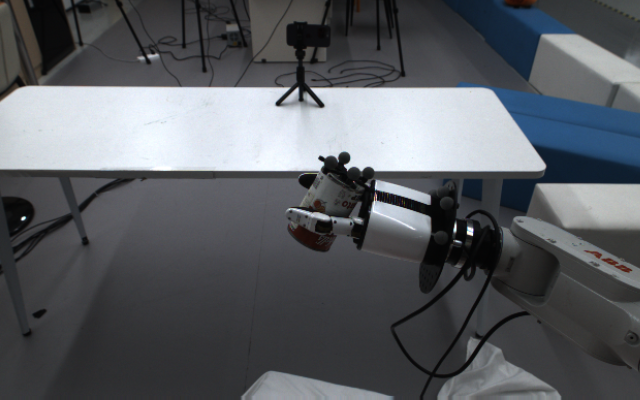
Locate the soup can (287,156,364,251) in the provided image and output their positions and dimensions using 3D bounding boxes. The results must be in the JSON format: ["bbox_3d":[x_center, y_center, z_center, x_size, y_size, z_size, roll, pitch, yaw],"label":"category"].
[{"bbox_3d":[0.009,0.011,0.663,0.067,0.101,0.067,27,18,-10],"label":"soup can"}]
